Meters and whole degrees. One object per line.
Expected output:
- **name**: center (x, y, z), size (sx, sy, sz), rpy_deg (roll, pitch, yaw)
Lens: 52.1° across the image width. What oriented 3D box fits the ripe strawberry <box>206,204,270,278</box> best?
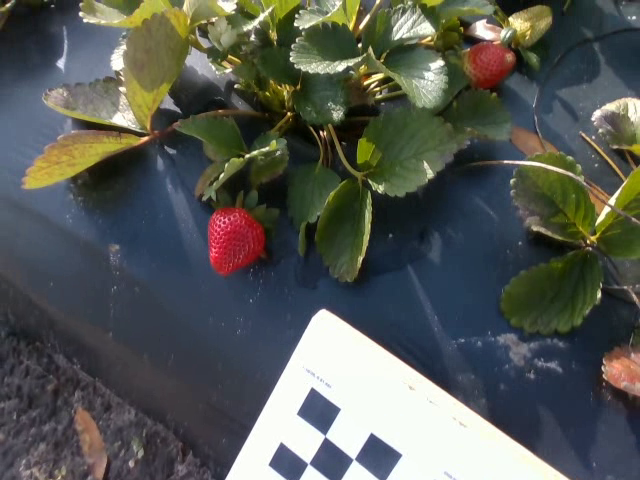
- **ripe strawberry**: center (-0.051, 0.003, 0.360), size (0.041, 0.041, 0.047), rpy_deg (5, 47, 33)
